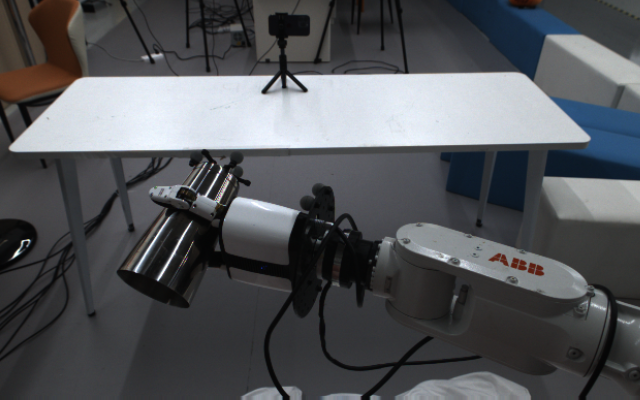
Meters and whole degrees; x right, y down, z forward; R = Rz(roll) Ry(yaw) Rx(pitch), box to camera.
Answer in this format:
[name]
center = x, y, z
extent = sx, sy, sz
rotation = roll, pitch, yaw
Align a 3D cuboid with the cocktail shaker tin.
[cocktail shaker tin]
center = -0.167, 0.037, 0.604
extent = 0.093, 0.093, 0.170
rotation = 13, 58, 16
